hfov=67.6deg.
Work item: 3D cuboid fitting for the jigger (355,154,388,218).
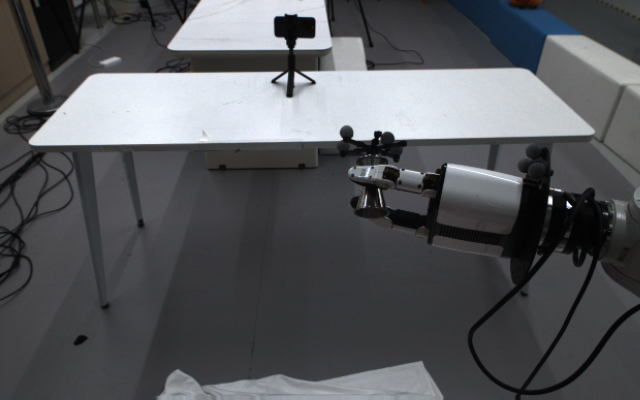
[{"bbox_3d":[0.062,-0.018,0.590,0.043,0.043,0.071,3,72,1],"label":"jigger"}]
